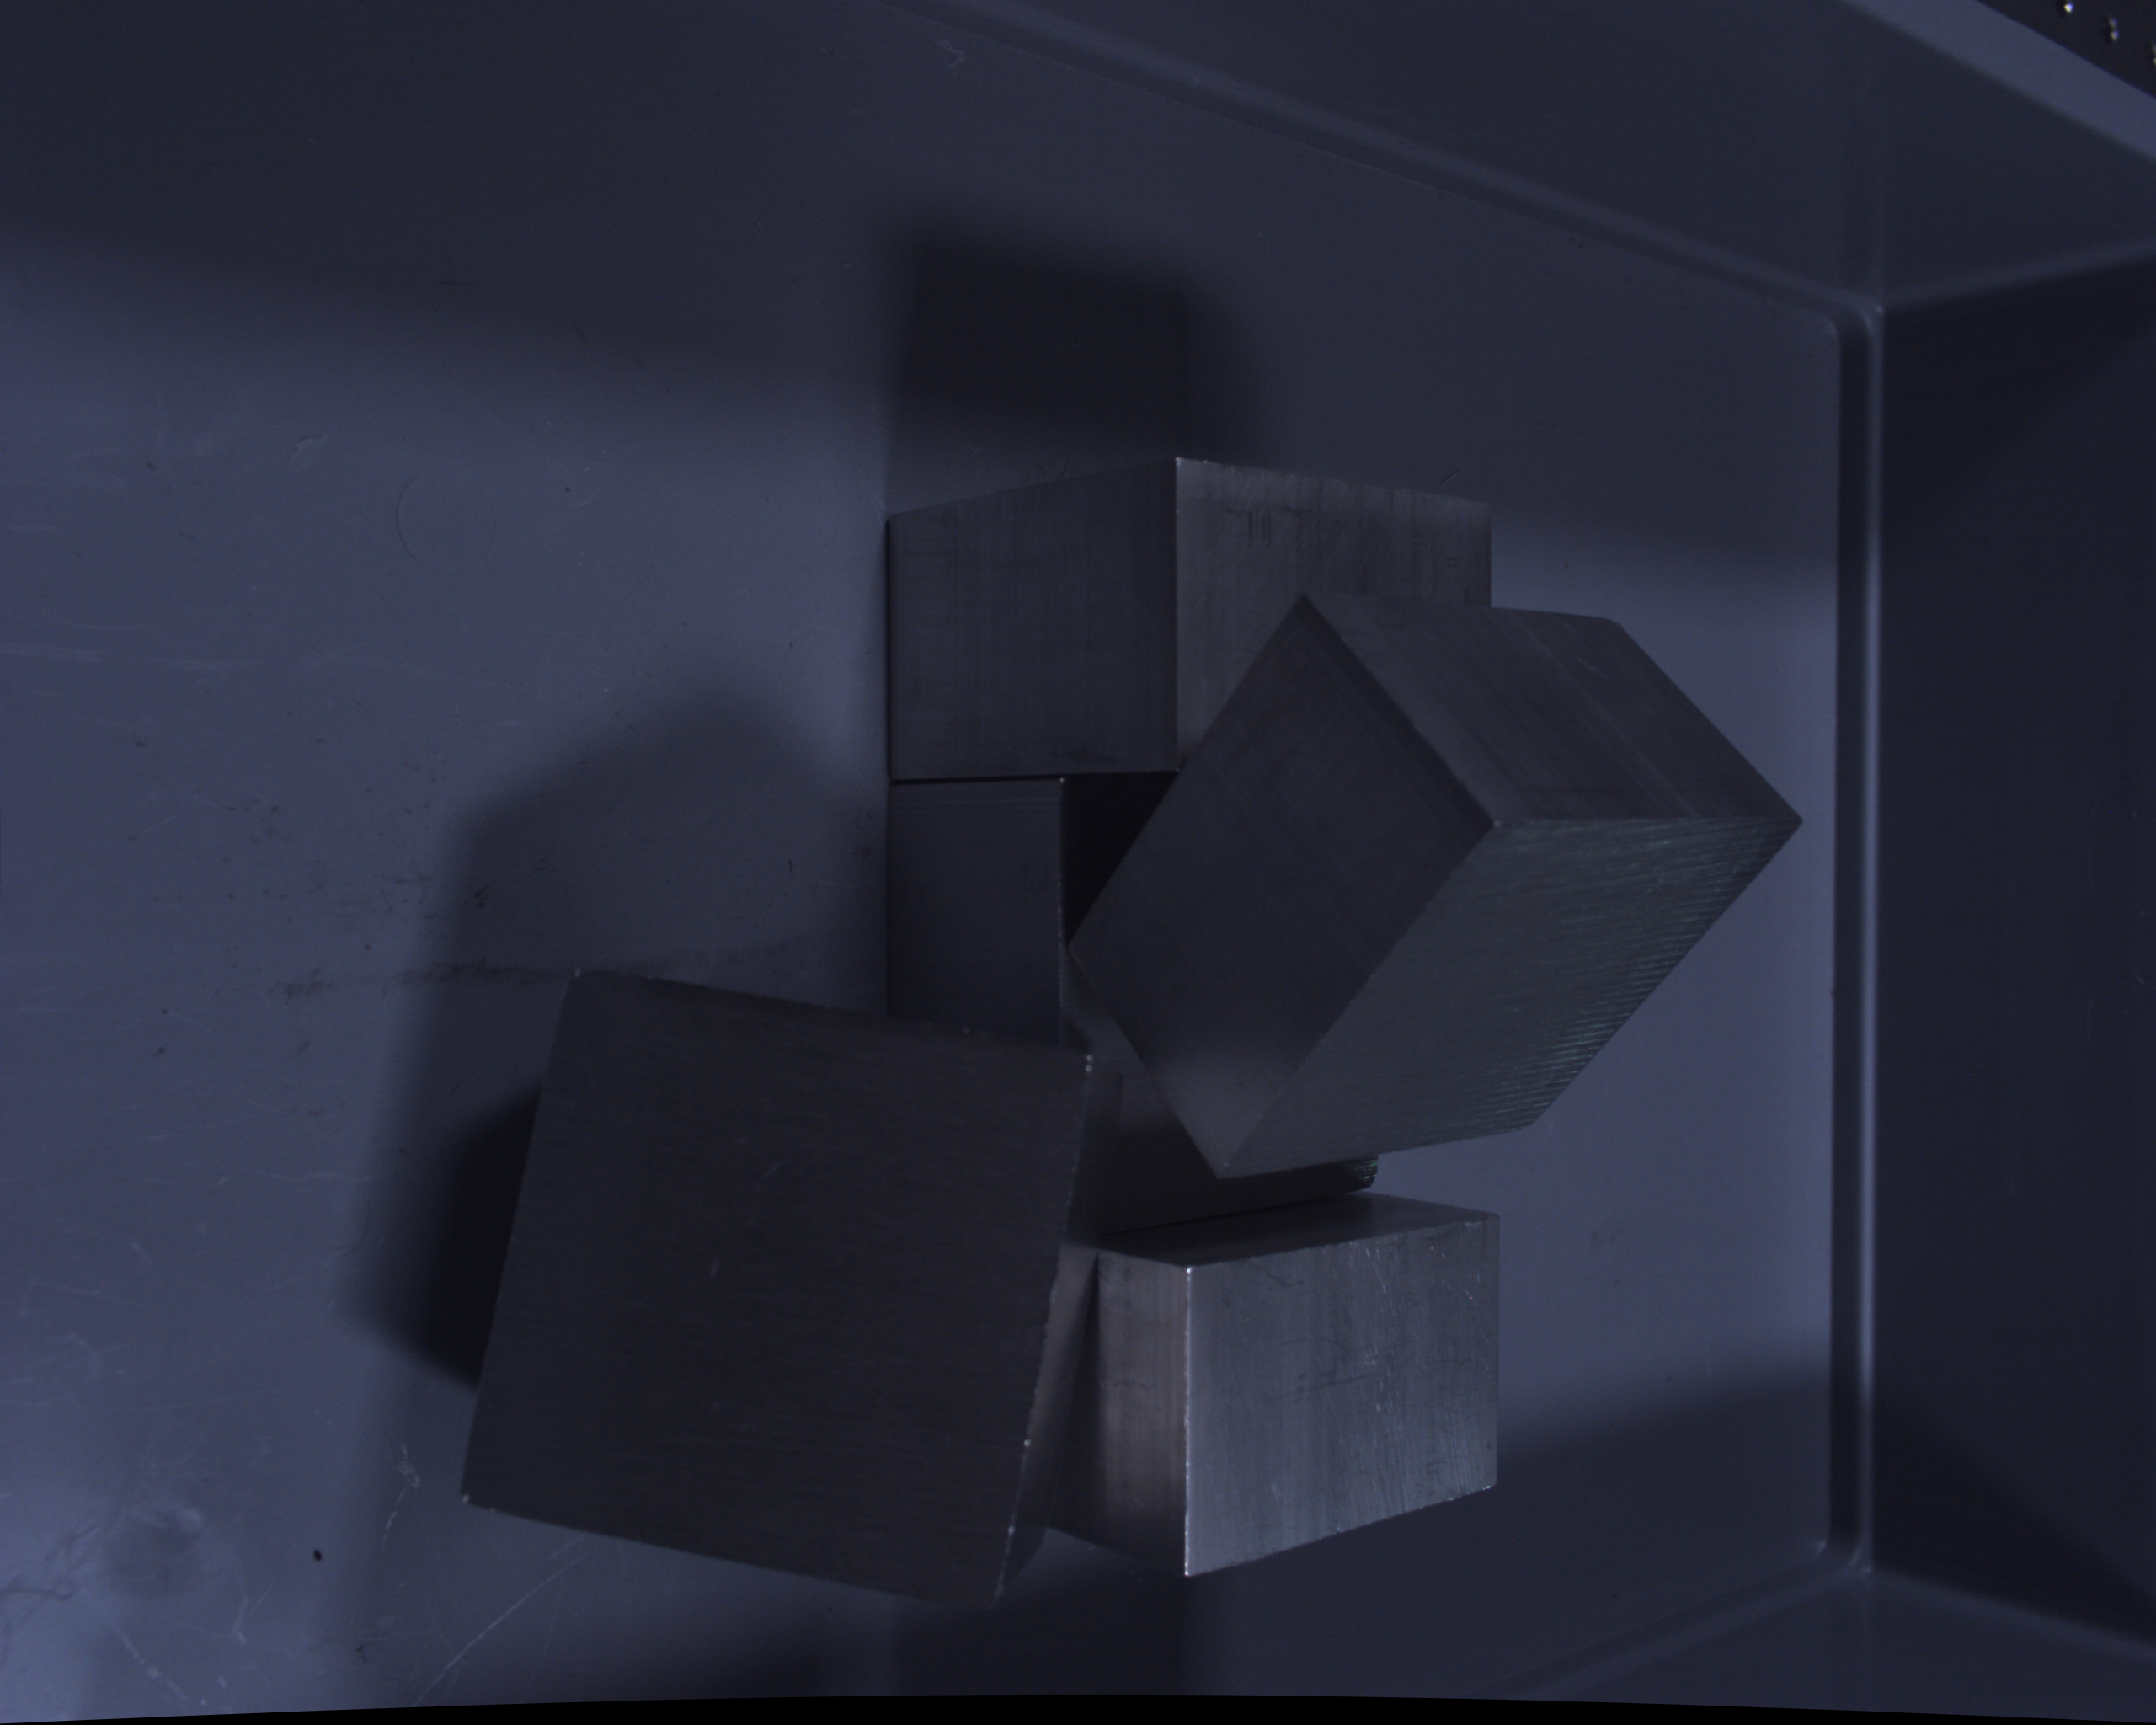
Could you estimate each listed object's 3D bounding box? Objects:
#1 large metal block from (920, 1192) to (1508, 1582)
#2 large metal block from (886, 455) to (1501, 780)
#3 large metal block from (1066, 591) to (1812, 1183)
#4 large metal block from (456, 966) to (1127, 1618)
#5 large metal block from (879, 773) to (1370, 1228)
[{"bbox_3d":[0.022,0.090,0.389,0.081,0.080,0.050,0,90,-40],"label":"large metal block"},{"bbox_3d":[0.021,-0.041,0.387,0.081,0.080,0.050,-2,91,-40],"label":"large metal block"},{"bbox_3d":[0.058,0.004,0.347,0.081,0.079,0.050,-1,46,-40],"label":"large metal block"},{"bbox_3d":[-0.041,0.064,0.326,0.050,0.080,0.080,56,44,-79],"label":"large metal block"},{"bbox_3d":[0.010,0.024,0.401,0.081,0.050,0.079,-1,91,-40],"label":"large metal block"}]
